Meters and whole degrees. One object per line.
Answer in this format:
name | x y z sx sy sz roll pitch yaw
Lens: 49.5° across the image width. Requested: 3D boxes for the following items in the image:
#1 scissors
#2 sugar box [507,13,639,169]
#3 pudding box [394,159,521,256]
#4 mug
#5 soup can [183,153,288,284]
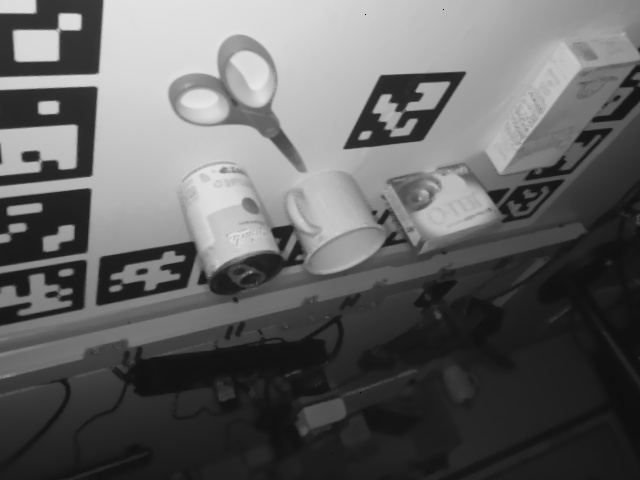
scissors | -0.048 -0.108 0.590 0.087 0.016 0.204 -41 147 6
sugar box | 0.279 -0.156 0.749 0.094 0.045 0.174 -14 147 -24
pudding box | 0.152 -0.037 0.777 0.115 0.090 0.038 -15 142 -17
mug | 0.015 -0.018 0.716 0.093 0.081 0.117 -32 151 5
soup can | -0.079 -0.020 0.634 0.068 0.102 0.067 -20 151 -11
